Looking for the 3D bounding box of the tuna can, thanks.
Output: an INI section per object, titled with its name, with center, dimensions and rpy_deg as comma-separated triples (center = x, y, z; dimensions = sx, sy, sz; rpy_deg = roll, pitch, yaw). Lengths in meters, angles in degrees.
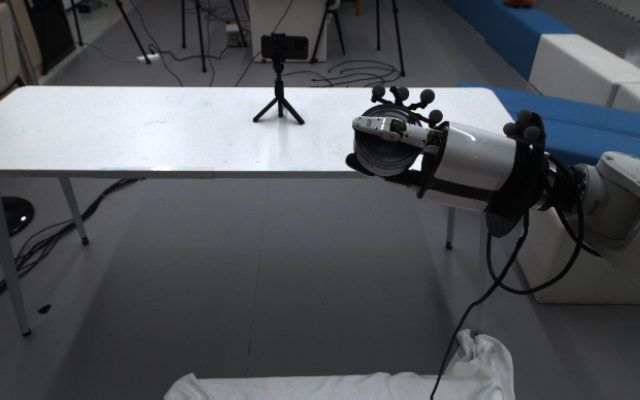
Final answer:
[tuna can]
center = 0.085, -0.077, 0.604
dimensions = 0.085, 0.034, 0.085
rpy_deg = 0, 72, 0
